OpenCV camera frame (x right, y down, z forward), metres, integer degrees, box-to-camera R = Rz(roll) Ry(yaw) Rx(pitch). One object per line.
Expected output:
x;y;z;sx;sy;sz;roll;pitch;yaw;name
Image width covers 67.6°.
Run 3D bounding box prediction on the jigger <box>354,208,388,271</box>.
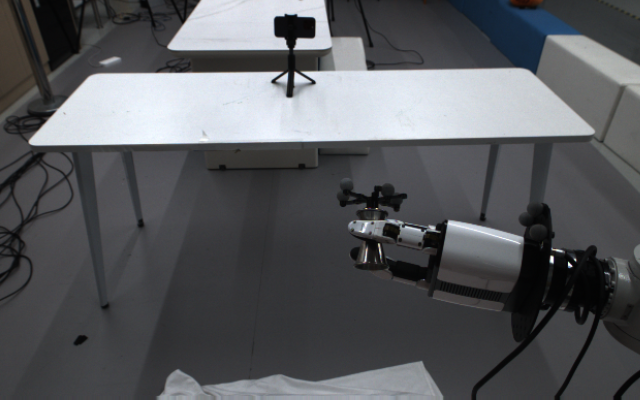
0.062;0.047;0.587;0.043;0.043;0.071;3;72;1;jigger
